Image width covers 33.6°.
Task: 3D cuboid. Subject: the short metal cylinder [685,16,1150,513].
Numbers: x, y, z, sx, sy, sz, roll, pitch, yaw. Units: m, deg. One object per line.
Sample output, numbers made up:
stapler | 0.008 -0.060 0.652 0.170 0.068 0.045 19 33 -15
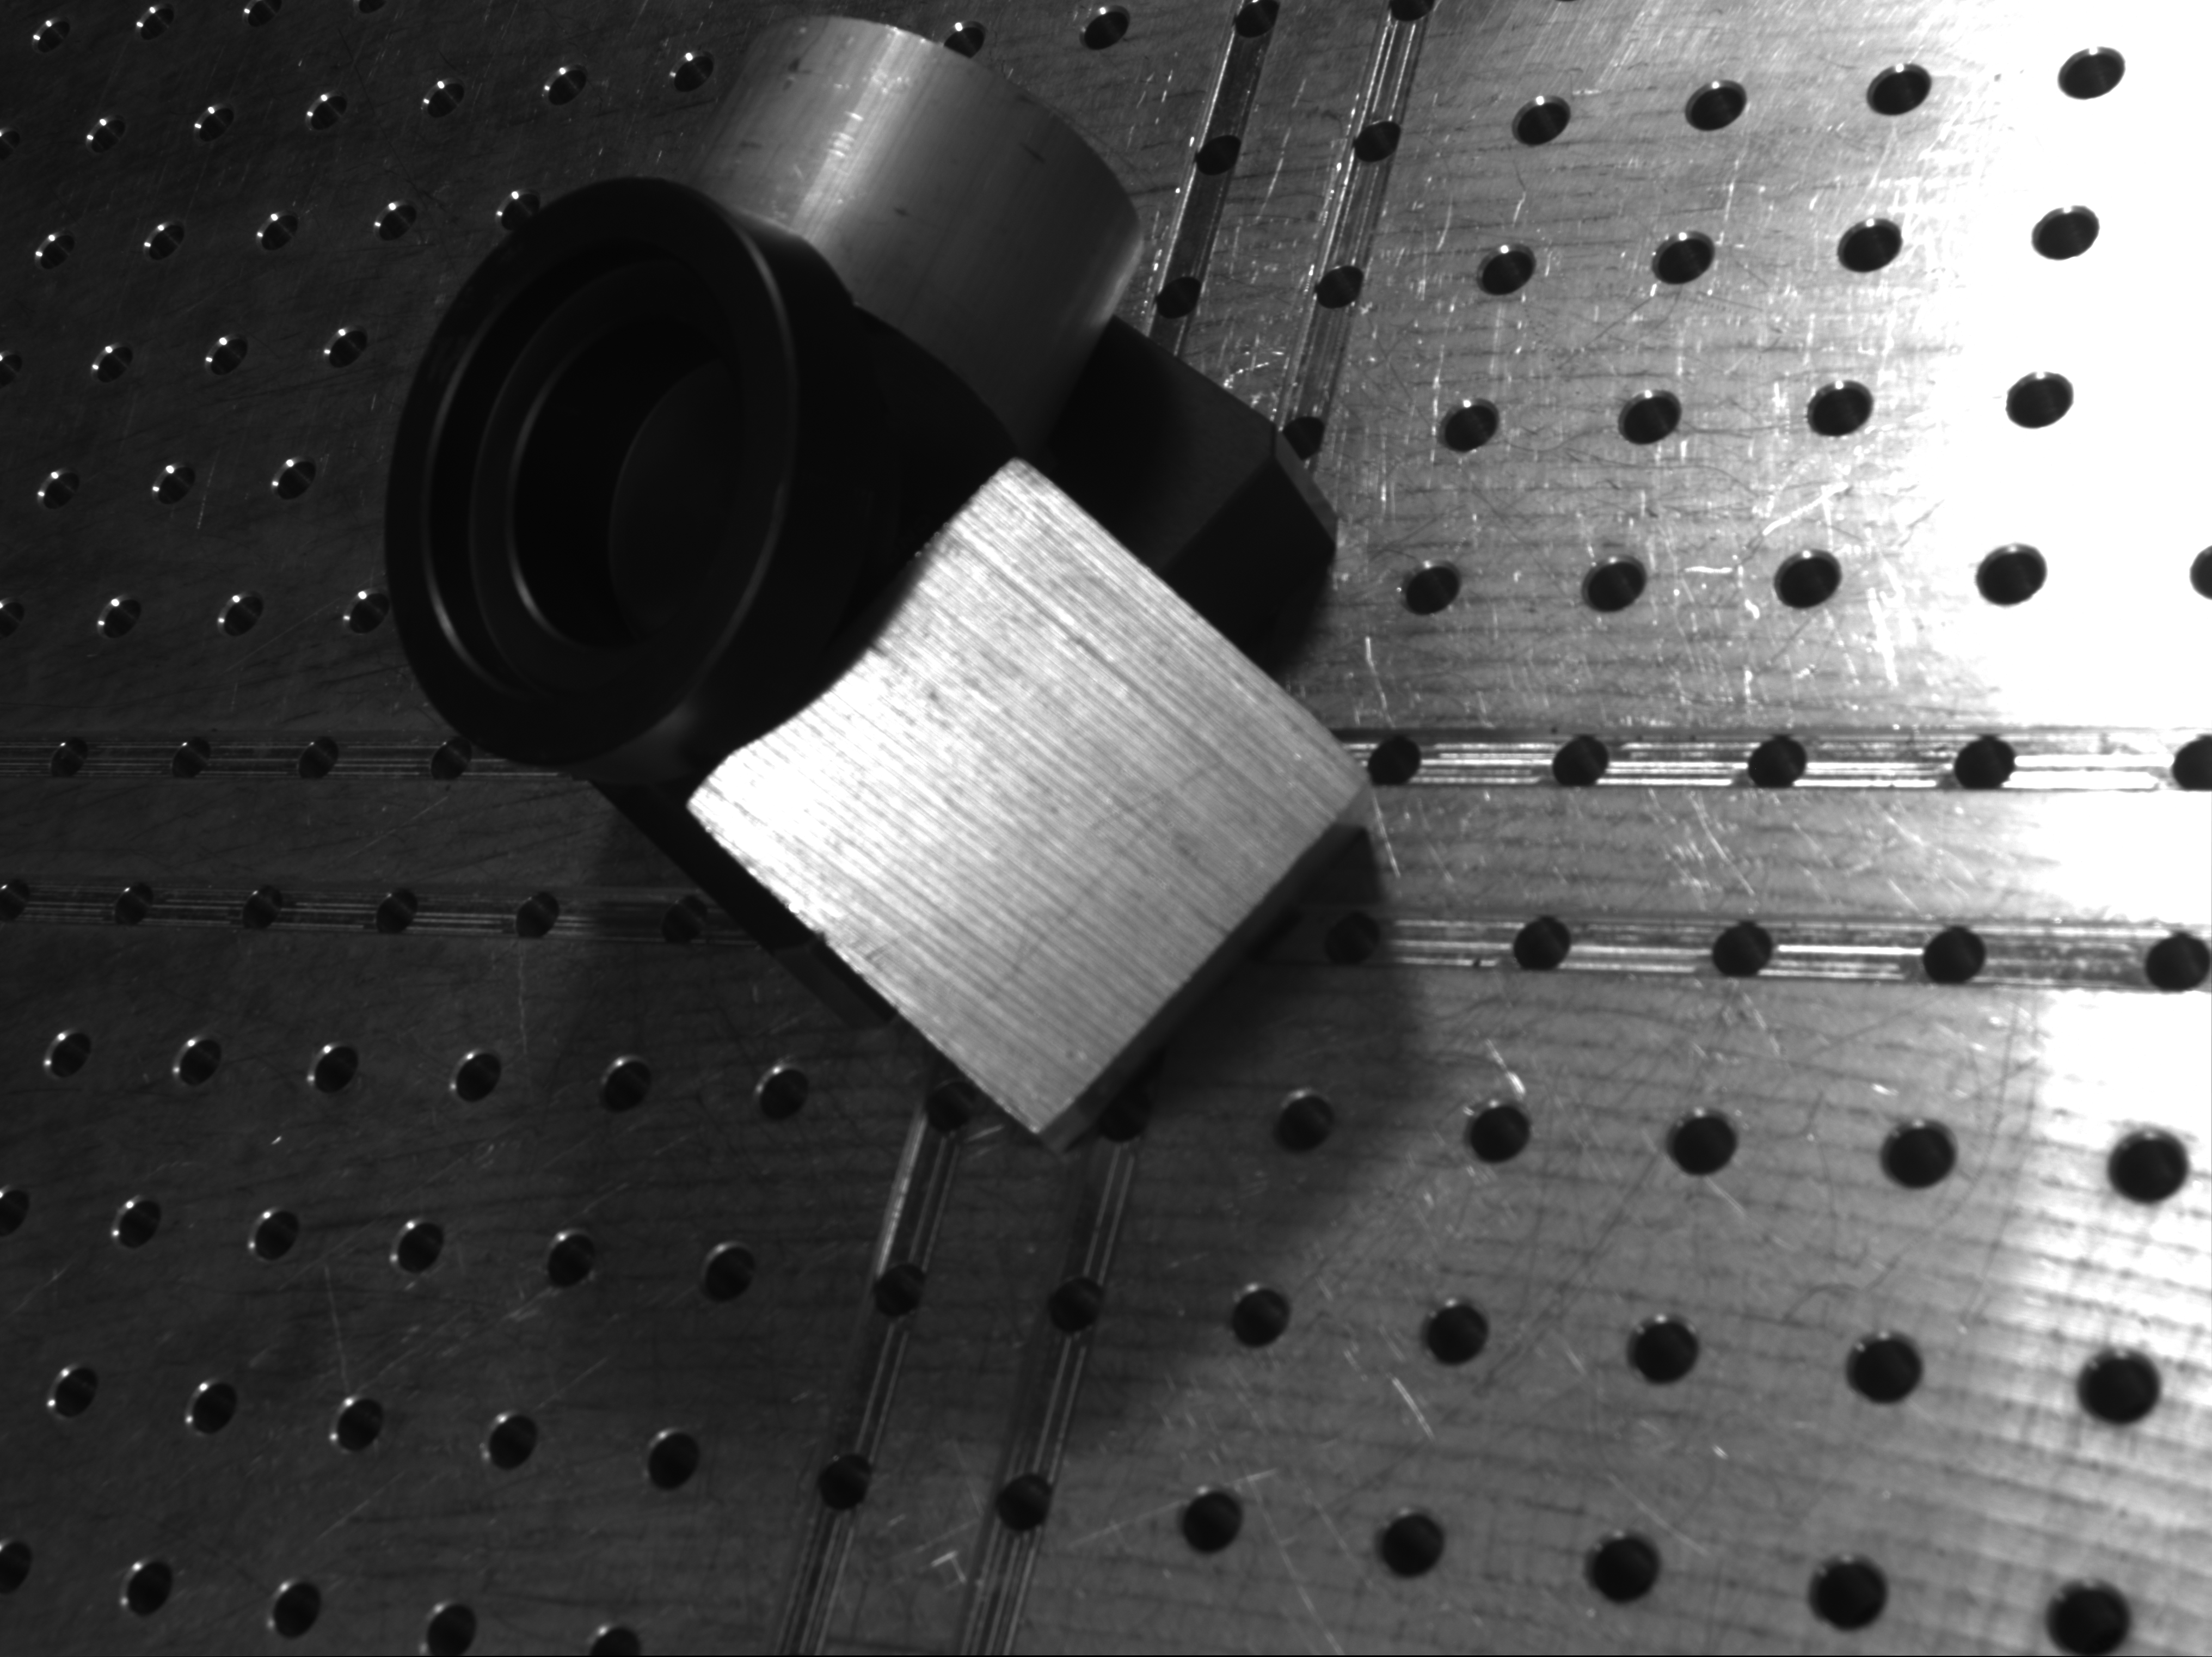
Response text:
short metal cylinder | -0.039 -0.099 0.655 0.080 0.080 0.050 14 69 34

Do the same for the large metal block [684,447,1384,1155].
large metal block | -0.011 -0.003 0.615 0.080 0.050 0.080 42 85 8

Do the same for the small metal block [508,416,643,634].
small metal block | -0.092 -0.046 0.668 0.025 0.050 0.050 21 73 36

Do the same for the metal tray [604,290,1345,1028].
metal tray | -0.030 -0.037 0.684 0.130 0.030 0.090 -47 51 -5

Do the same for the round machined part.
round machined part | -0.072 -0.056 0.613 0.098 0.042 0.098 -9 76 38
